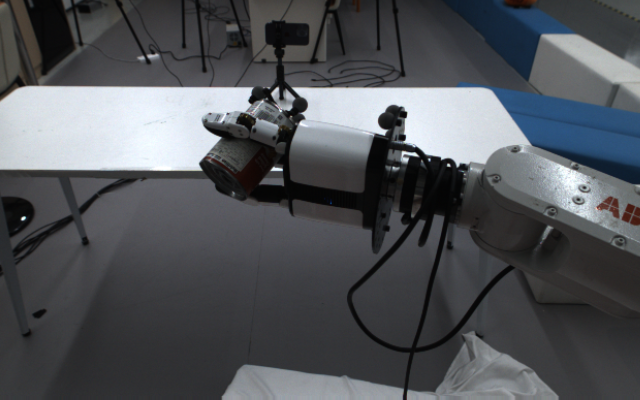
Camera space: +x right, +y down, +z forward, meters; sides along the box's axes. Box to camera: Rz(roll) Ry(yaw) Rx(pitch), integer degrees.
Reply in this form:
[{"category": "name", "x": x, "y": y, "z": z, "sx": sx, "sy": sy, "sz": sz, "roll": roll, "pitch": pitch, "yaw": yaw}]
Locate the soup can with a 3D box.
[{"category": "soup can", "x": -0.079, "y": -0.059, "z": 0.561, "sx": 0.067, "sy": 0.067, "sz": 0.101, "roll": 25, "pitch": 66, "yaw": 30}]
